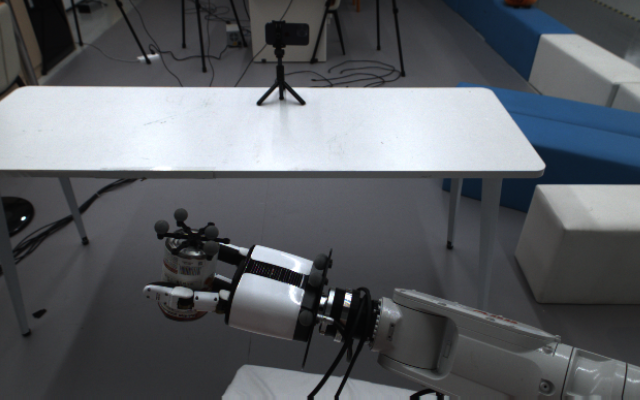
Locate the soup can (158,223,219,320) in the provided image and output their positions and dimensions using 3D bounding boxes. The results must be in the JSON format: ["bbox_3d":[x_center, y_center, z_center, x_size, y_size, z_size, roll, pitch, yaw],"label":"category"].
[{"bbox_3d":[-0.169,0.098,0.625,0.067,0.101,0.067,12,25,-6],"label":"soup can"}]
